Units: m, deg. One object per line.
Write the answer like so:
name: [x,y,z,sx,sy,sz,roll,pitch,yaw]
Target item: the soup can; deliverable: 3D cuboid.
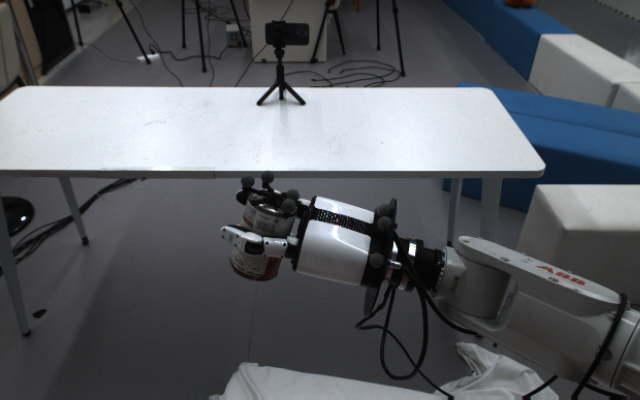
soup can: [-0.073,0.048,0.638,0.067,0.101,0.067,17,21,-7]
